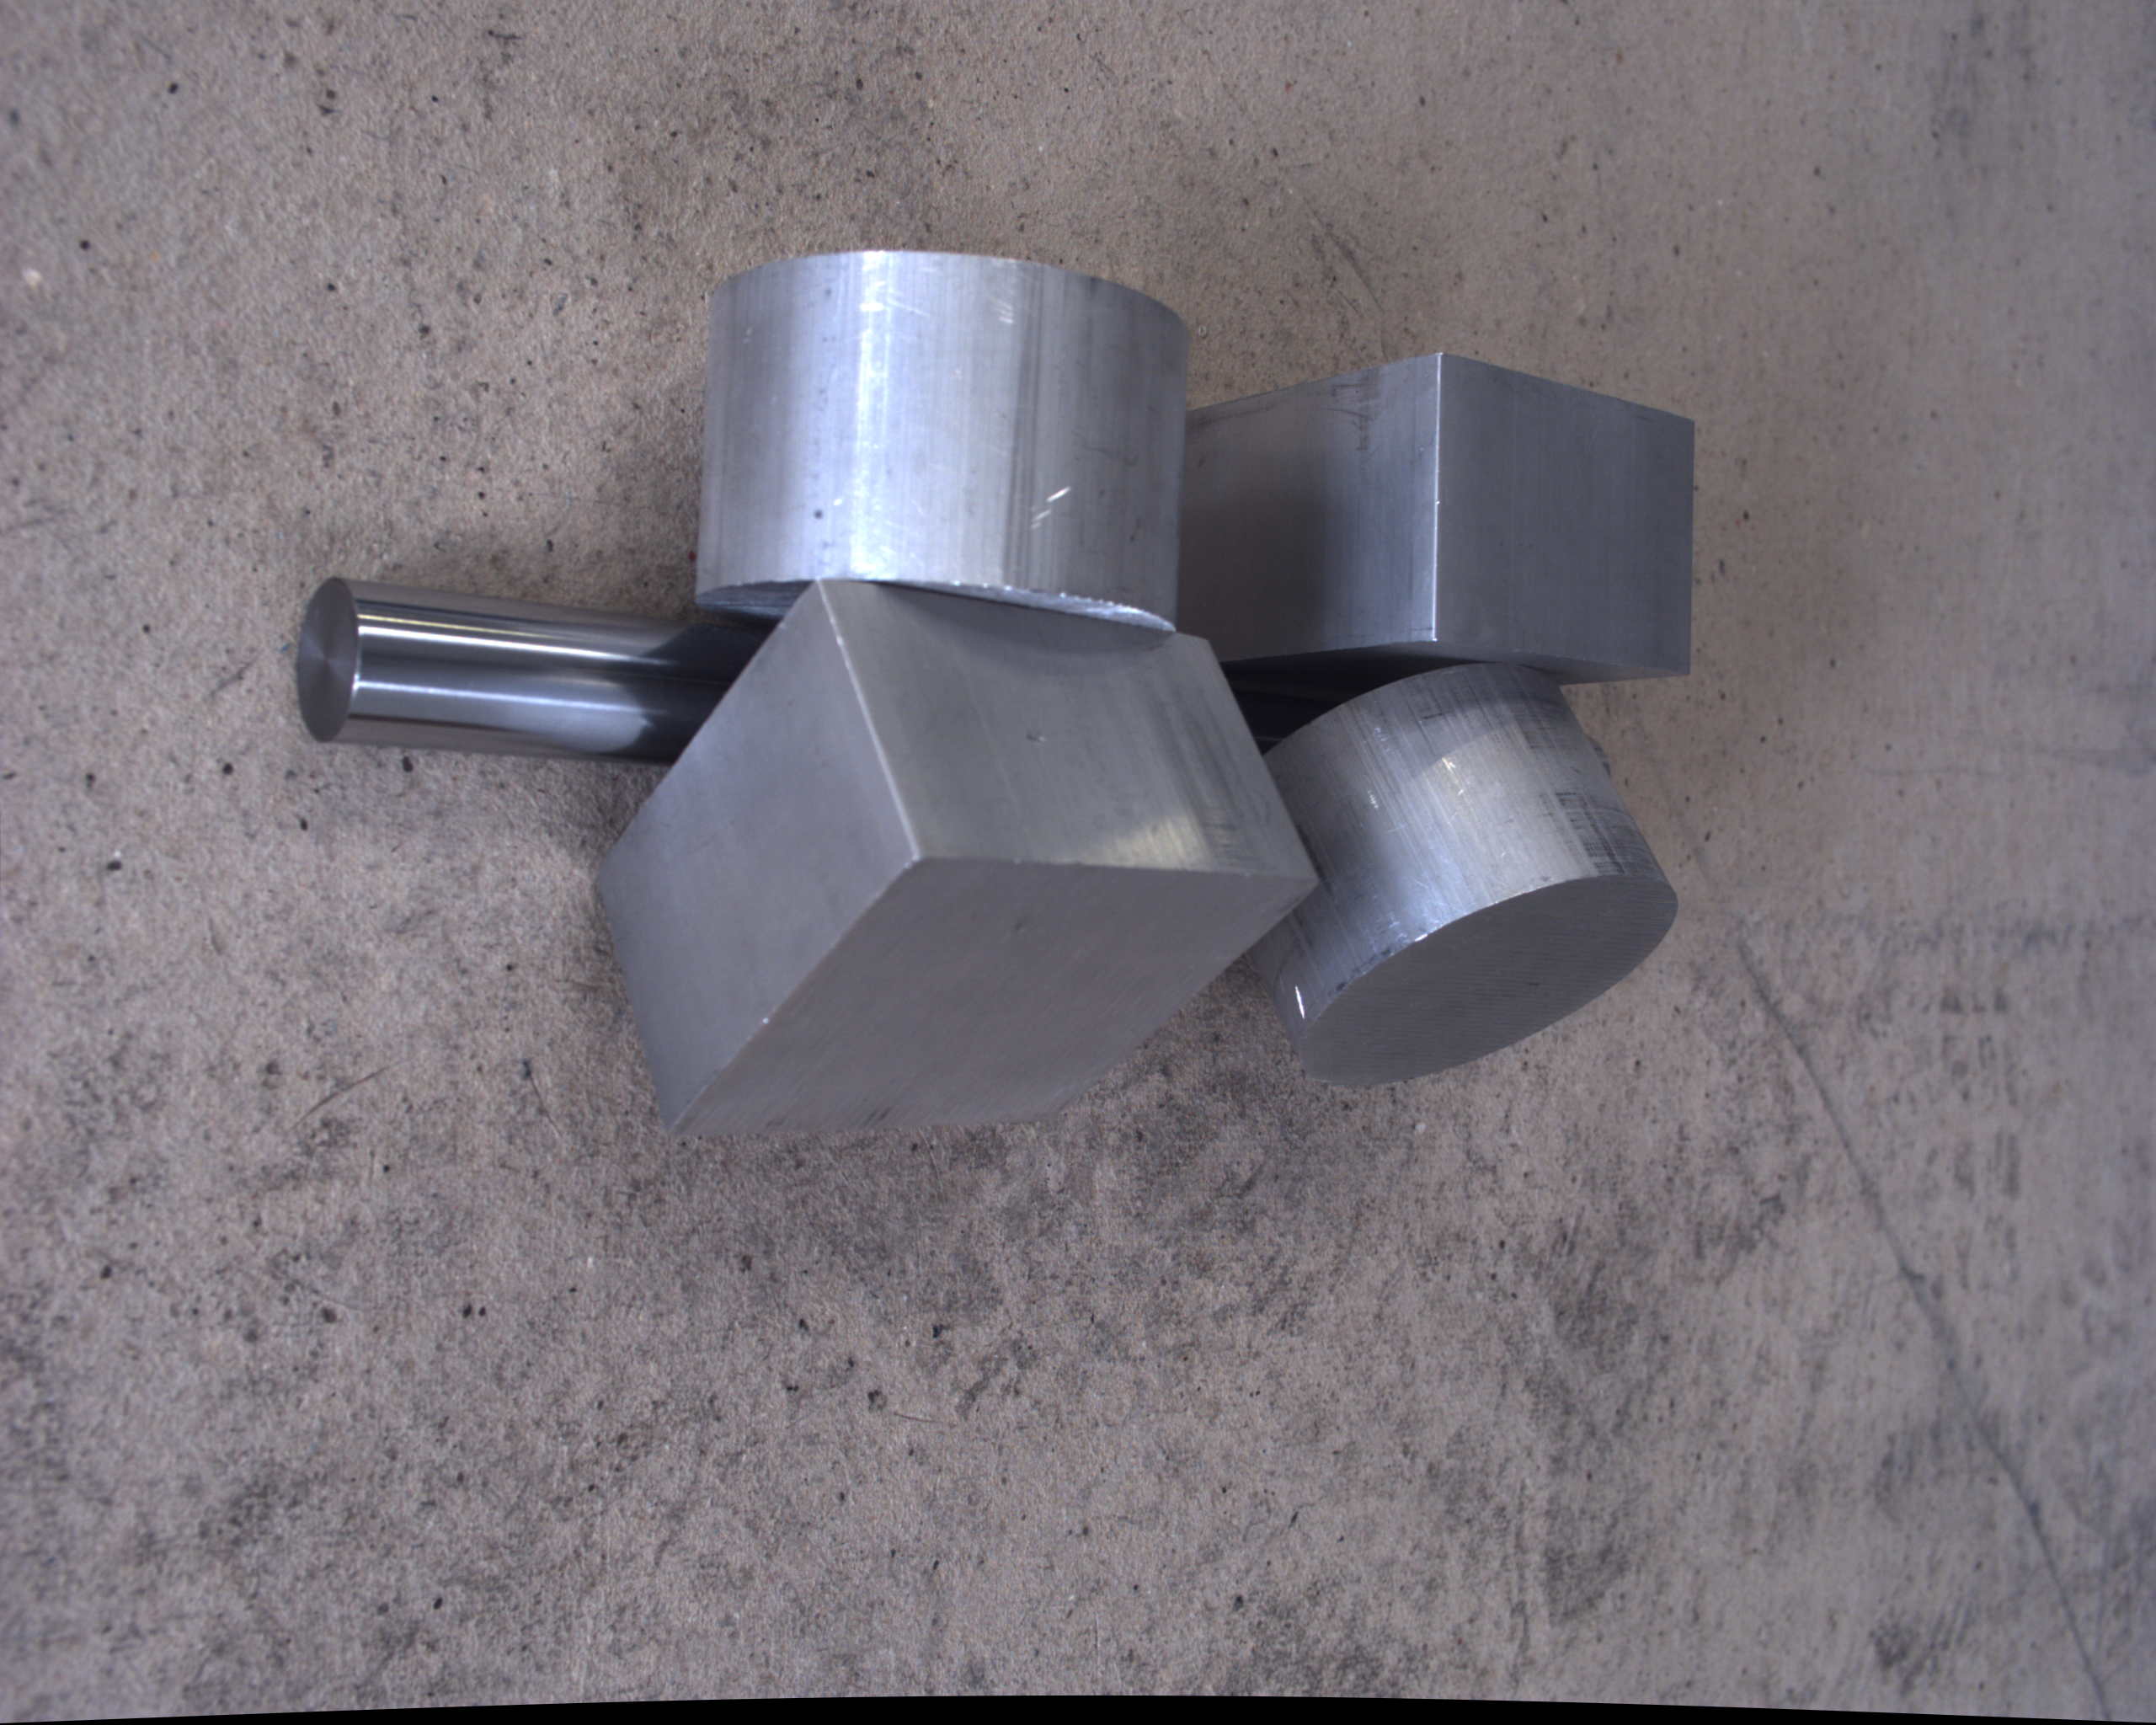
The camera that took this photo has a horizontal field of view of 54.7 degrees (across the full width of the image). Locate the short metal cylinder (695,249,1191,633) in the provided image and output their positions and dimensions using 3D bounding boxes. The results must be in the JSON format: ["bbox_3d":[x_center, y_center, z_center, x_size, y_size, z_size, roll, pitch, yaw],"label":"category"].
[{"bbox_3d":[-0.022,-0.066,0.351,0.081,0.080,0.050,4,88,-40],"label":"short metal cylinder"}]

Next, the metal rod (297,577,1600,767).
[{"bbox_3d":[0.003,-0.025,0.411,0.302,0.025,0.025,3,88,-40],"label":"metal rod"}]

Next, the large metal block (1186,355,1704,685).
[{"bbox_3d":[0.070,-0.065,0.428,0.081,0.080,0.050,2,89,-40],"label":"large metal block"}]

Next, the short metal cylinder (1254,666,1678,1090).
[{"bbox_3d":[0.073,0.005,0.423,0.081,0.080,0.050,2,54,-40],"label":"short metal cylinder"}]

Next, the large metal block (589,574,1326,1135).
[{"bbox_3d":[-0.022,0.002,0.344,0.081,0.080,0.050,3,54,-40],"label":"large metal block"}]
